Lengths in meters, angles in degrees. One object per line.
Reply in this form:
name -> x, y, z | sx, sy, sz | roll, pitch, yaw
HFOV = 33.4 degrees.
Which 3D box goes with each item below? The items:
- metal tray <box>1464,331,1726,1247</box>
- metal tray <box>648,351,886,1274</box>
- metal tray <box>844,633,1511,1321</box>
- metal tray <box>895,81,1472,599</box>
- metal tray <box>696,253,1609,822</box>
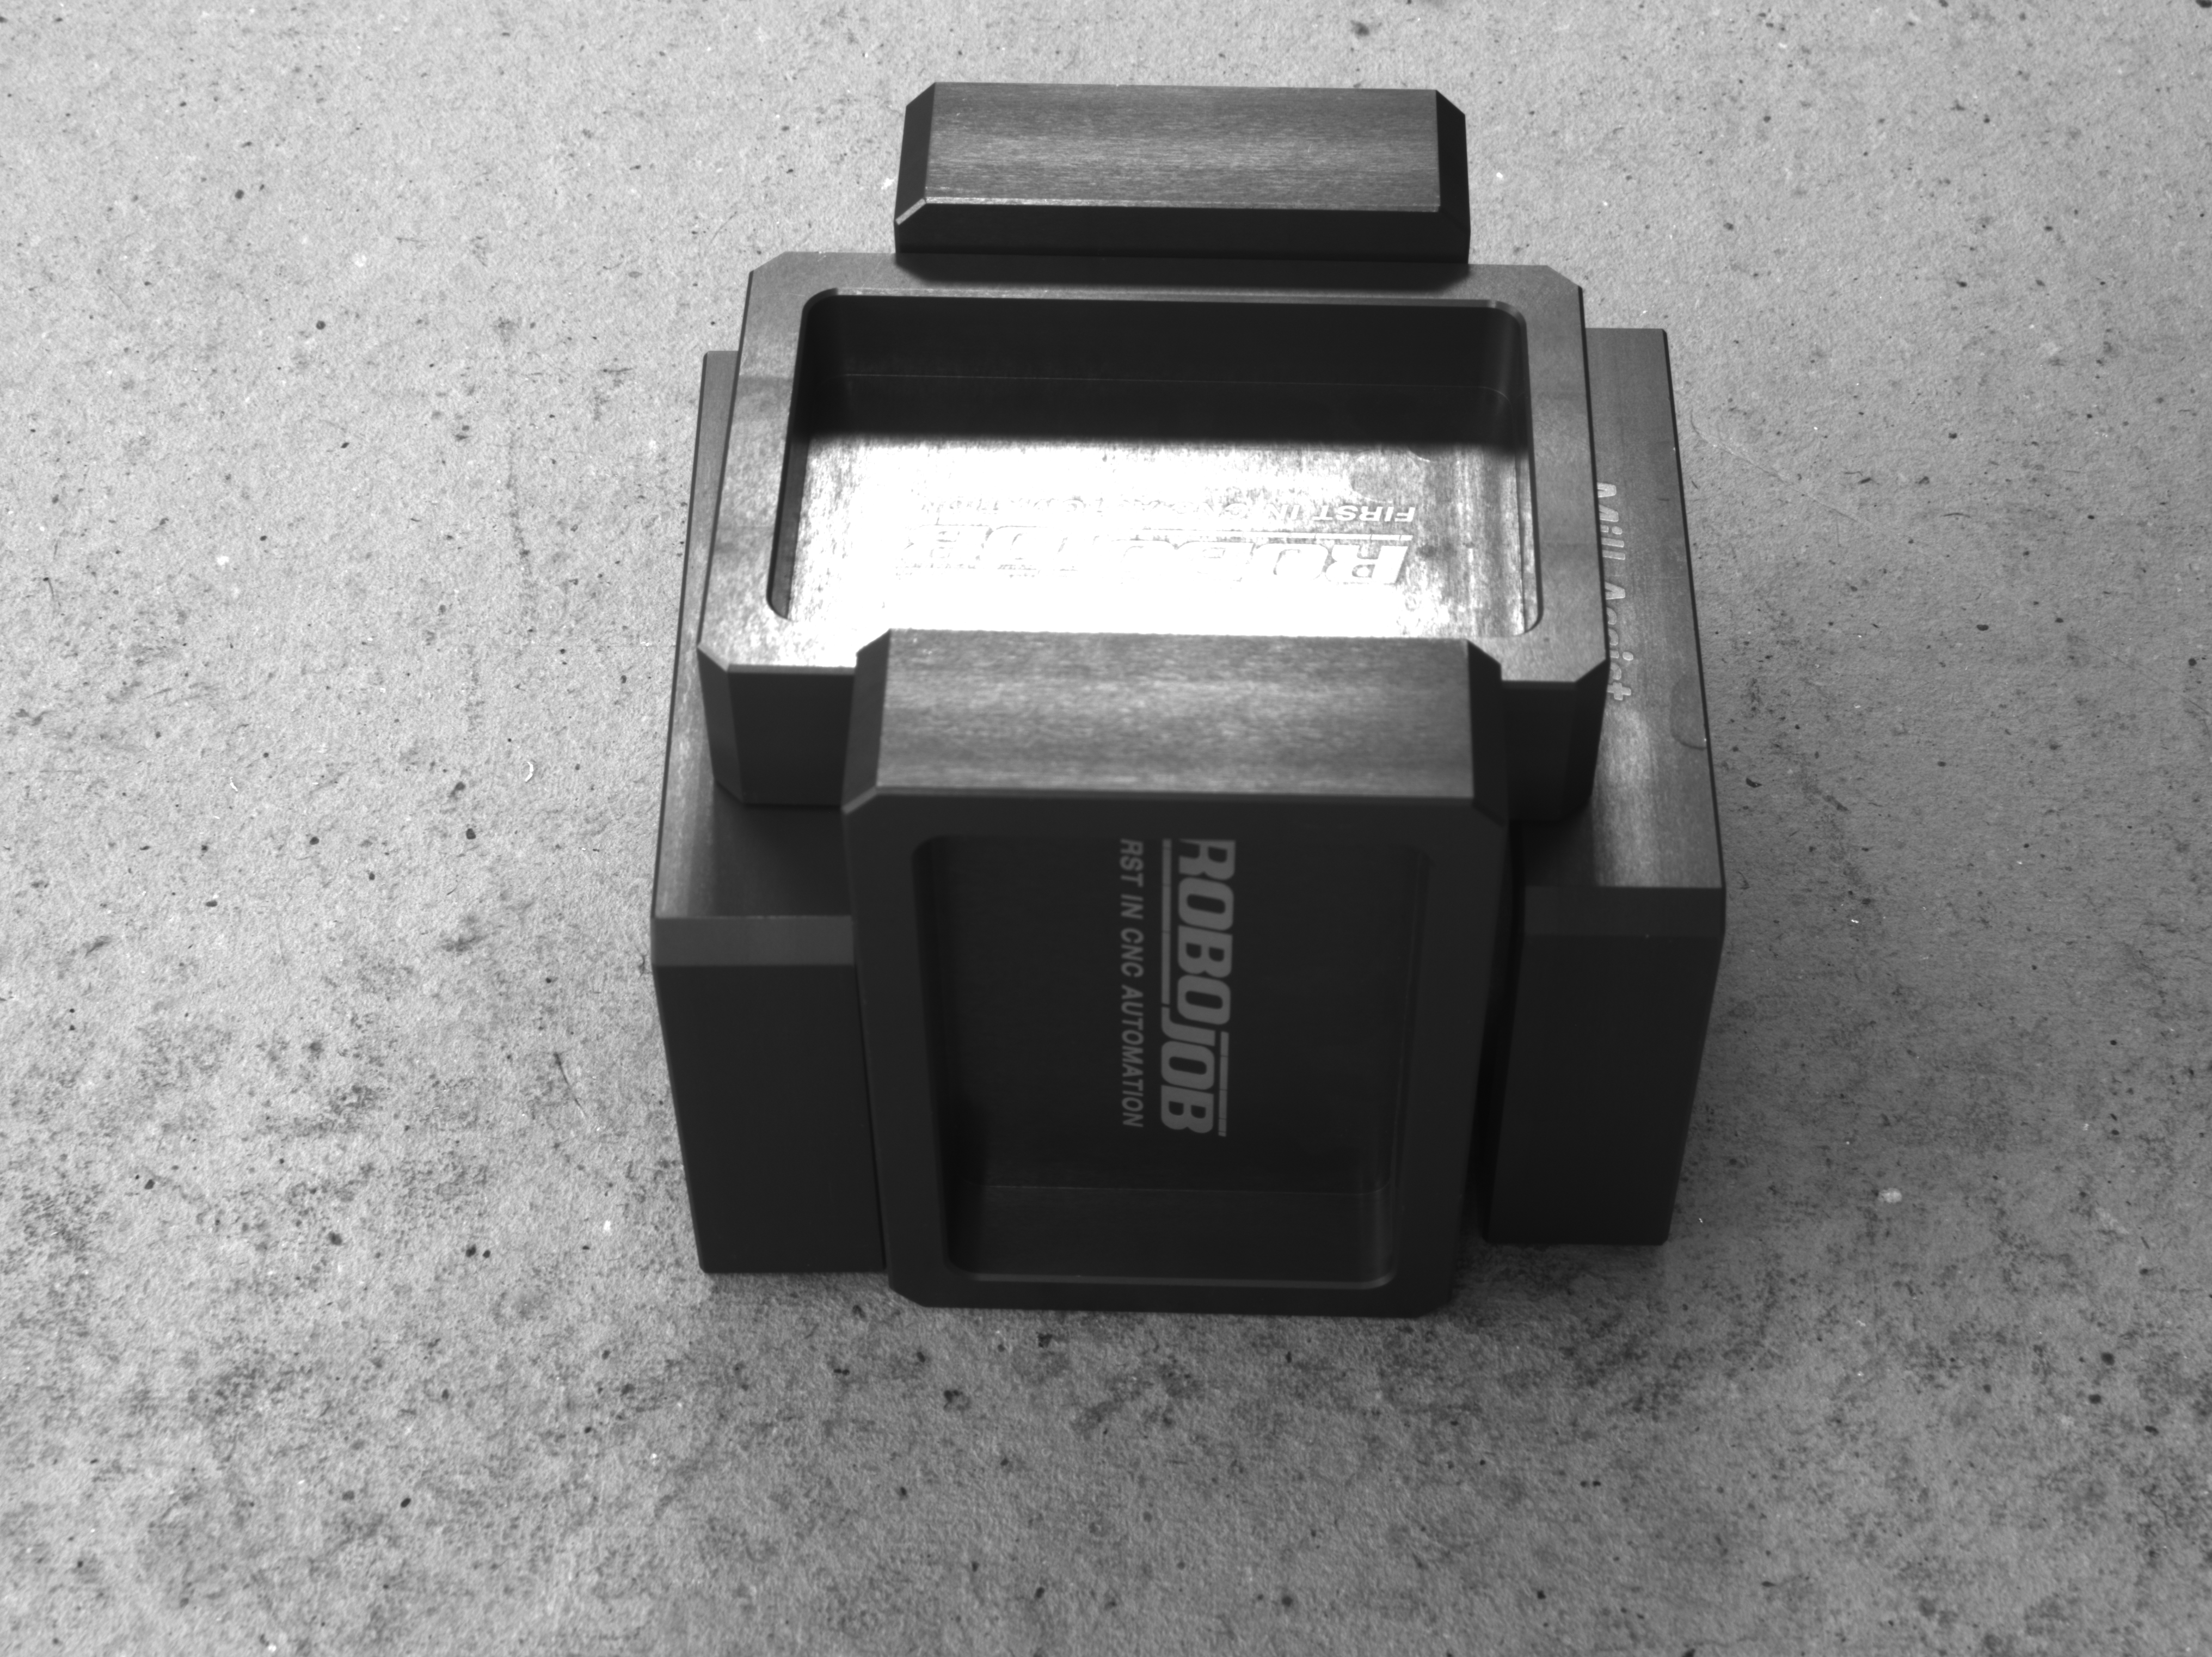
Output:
metal tray -> 0.077, -0.008, 0.607 | 0.030, 0.090, 0.130 | 1, 49, 2
metal tray -> -0.051, -0.004, 0.603 | 0.030, 0.090, 0.130 | 0, 50, 0
metal tray -> 0.010, 0.026, 0.552 | 0.090, 0.130, 0.030 | 1, 50, 1
metal tray -> 0.013, -0.066, 0.629 | 0.090, 0.130, 0.030 | 1, 50, 1
metal tray -> 0.008, -0.046, 0.561 | 0.130, 0.030, 0.090 | 1, 50, 1
